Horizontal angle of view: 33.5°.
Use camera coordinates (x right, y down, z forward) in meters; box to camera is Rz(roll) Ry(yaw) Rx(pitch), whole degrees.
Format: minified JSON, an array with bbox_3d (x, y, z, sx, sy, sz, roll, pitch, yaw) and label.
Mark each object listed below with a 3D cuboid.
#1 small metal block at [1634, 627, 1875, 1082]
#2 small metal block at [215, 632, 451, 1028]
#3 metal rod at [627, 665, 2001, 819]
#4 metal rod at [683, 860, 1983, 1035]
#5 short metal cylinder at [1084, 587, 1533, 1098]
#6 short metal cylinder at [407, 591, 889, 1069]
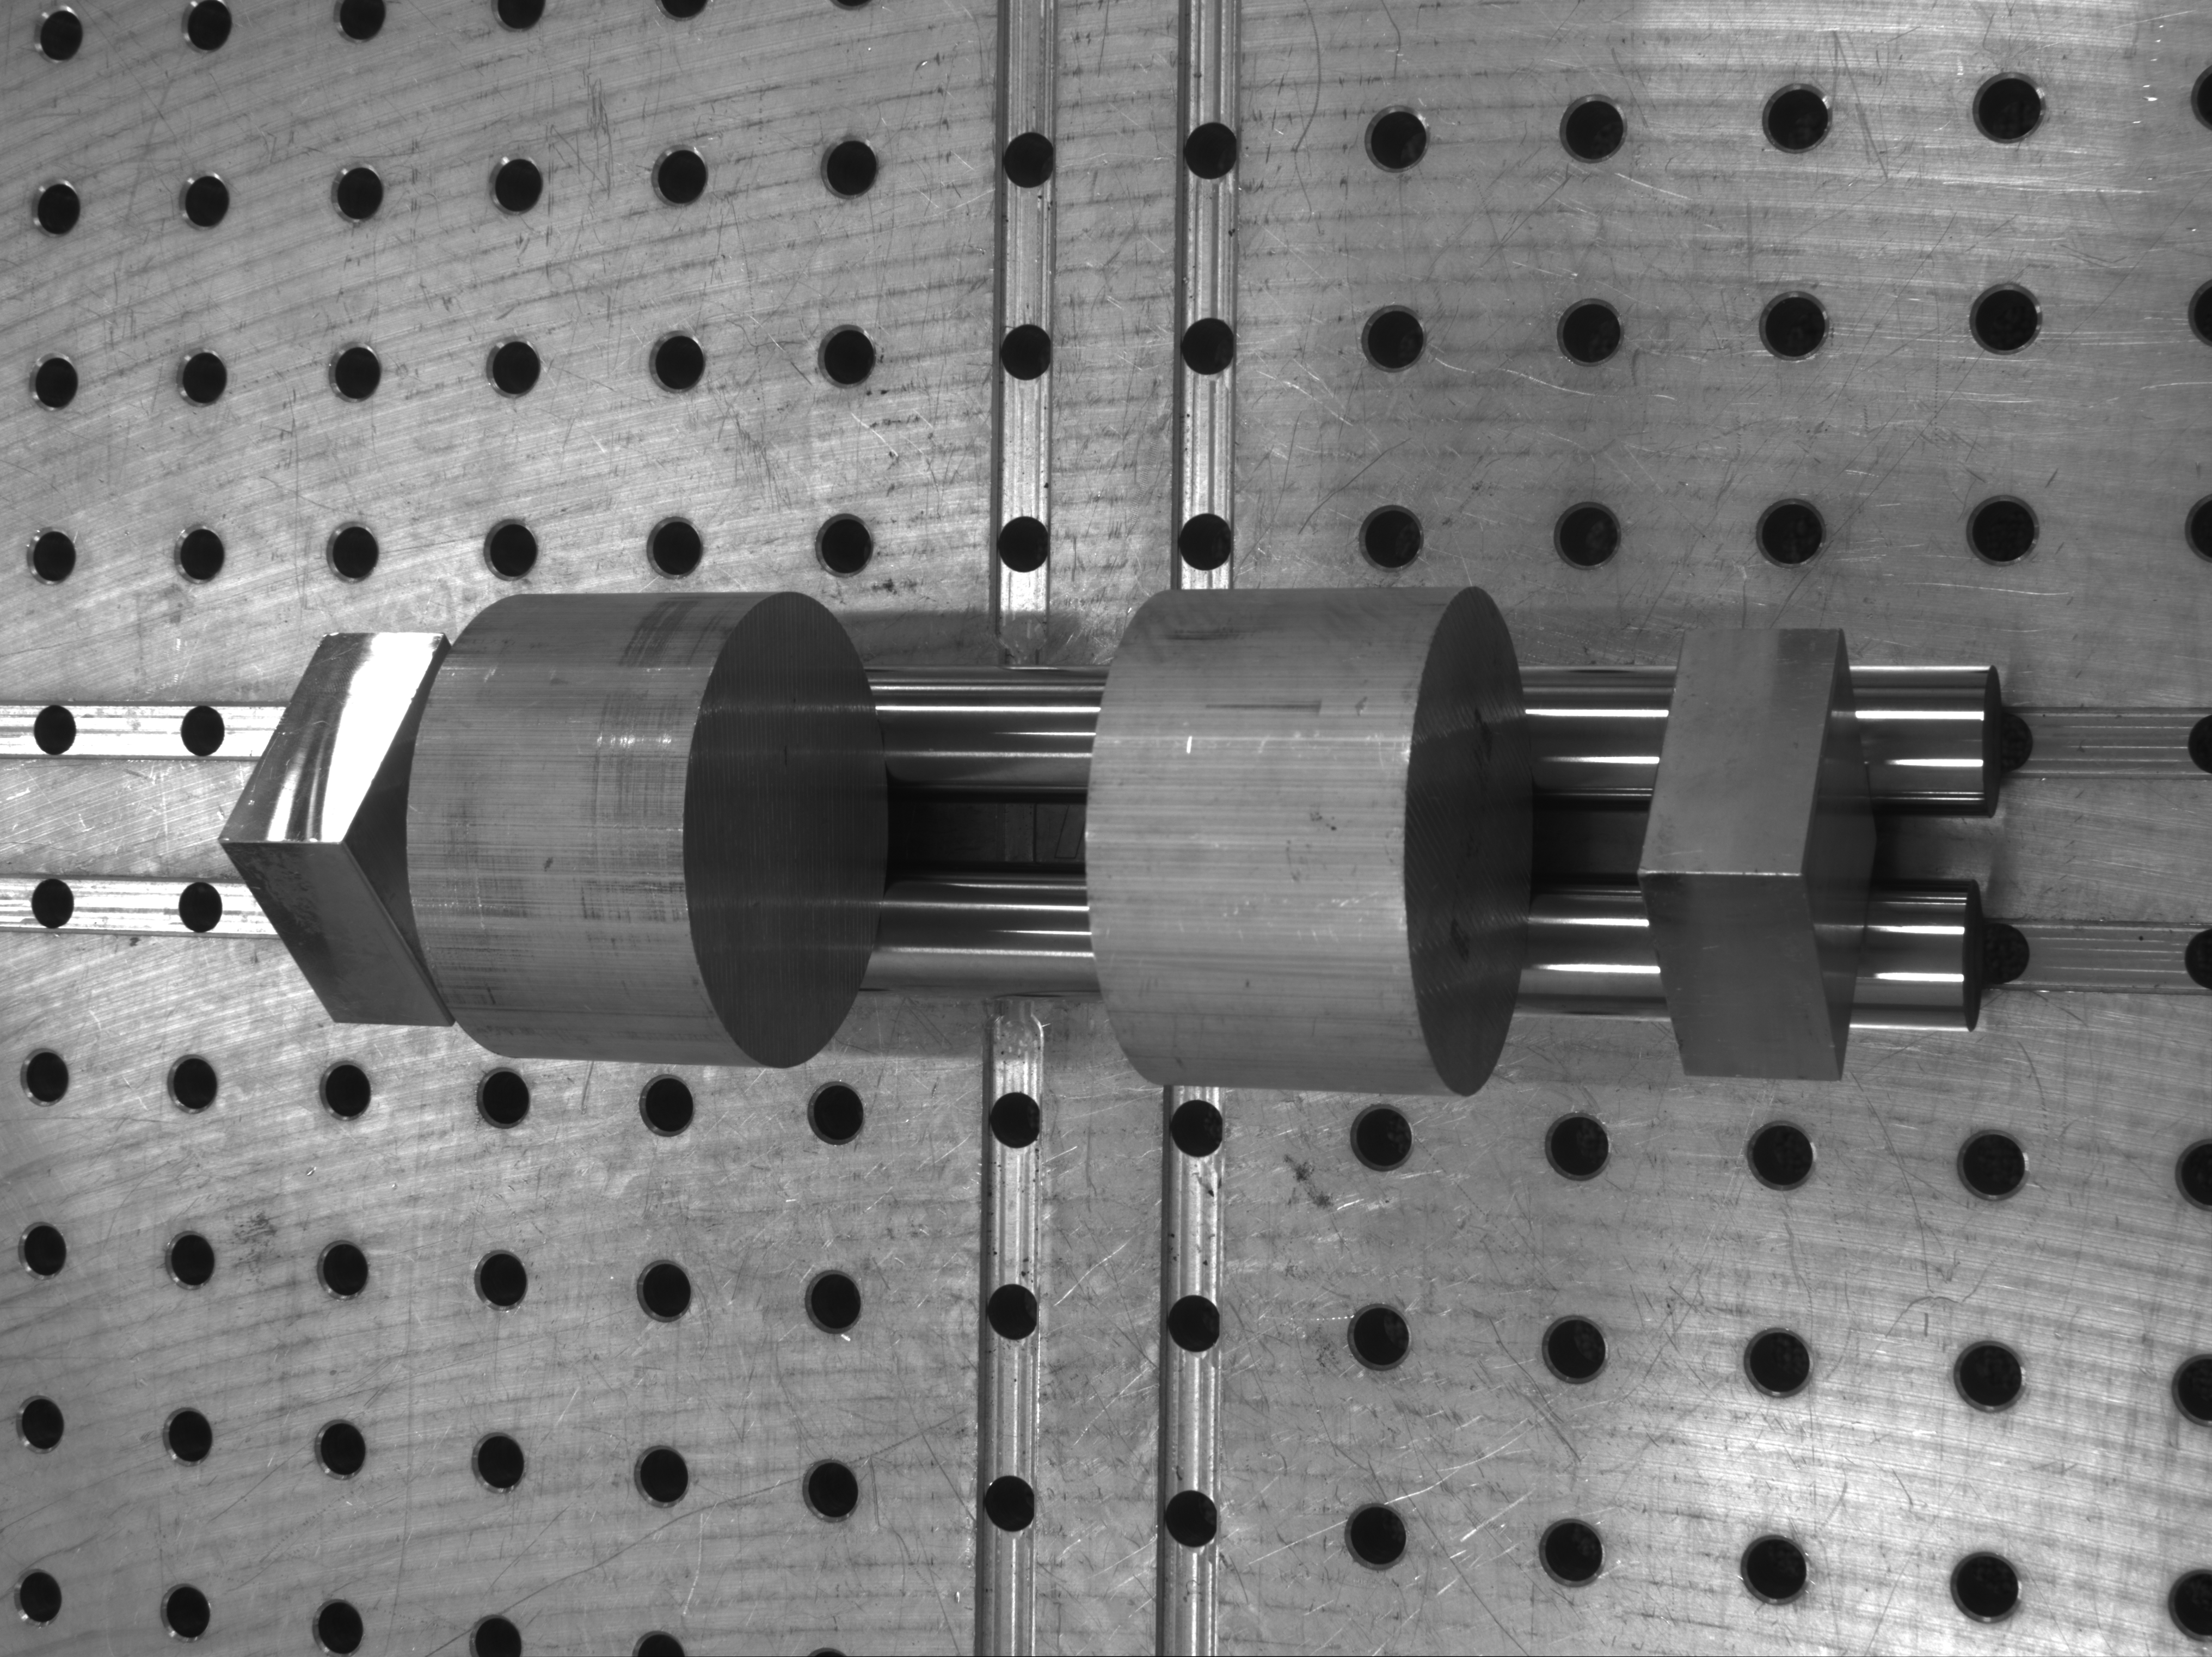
[{"bbox_3d":[0.103,0.004,0.574,0.025,0.050,0.050,1,49,21],"label":"small metal block"},{"bbox_3d":[-0.129,0.000,0.659,0.025,0.050,0.050,1,48,21],"label":"small metal block"},{"bbox_3d":[0.003,-0.016,0.648,0.299,0.025,0.025,1,90,20],"label":"metal rod"},{"bbox_3d":[0.001,0.019,0.649,0.299,0.025,0.025,1,90,20],"label":"metal rod"},{"bbox_3d":[0.034,0.002,0.584,0.050,0.080,0.080,1,90,20],"label":"short metal cylinder"},{"bbox_3d":[-0.076,0.000,0.624,0.050,0.080,0.080,1,90,20],"label":"short metal cylinder"}]
